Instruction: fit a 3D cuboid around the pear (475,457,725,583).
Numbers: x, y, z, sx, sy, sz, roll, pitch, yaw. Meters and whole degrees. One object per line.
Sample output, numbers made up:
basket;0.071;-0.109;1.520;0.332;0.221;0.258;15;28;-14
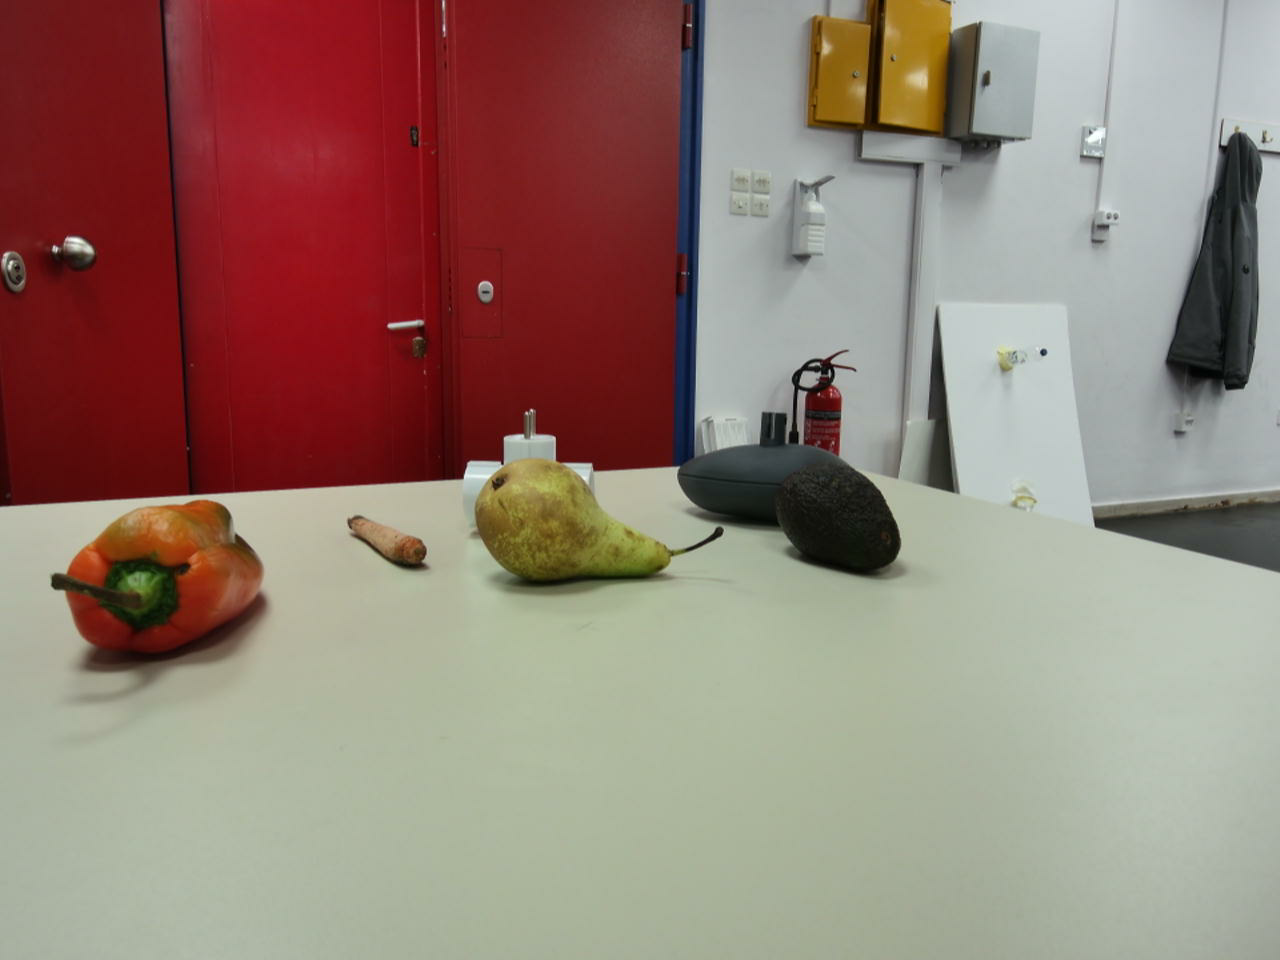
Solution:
pear;-0.029;0.023;0.614;0.144;0.075;0.071;-3;8;-17
